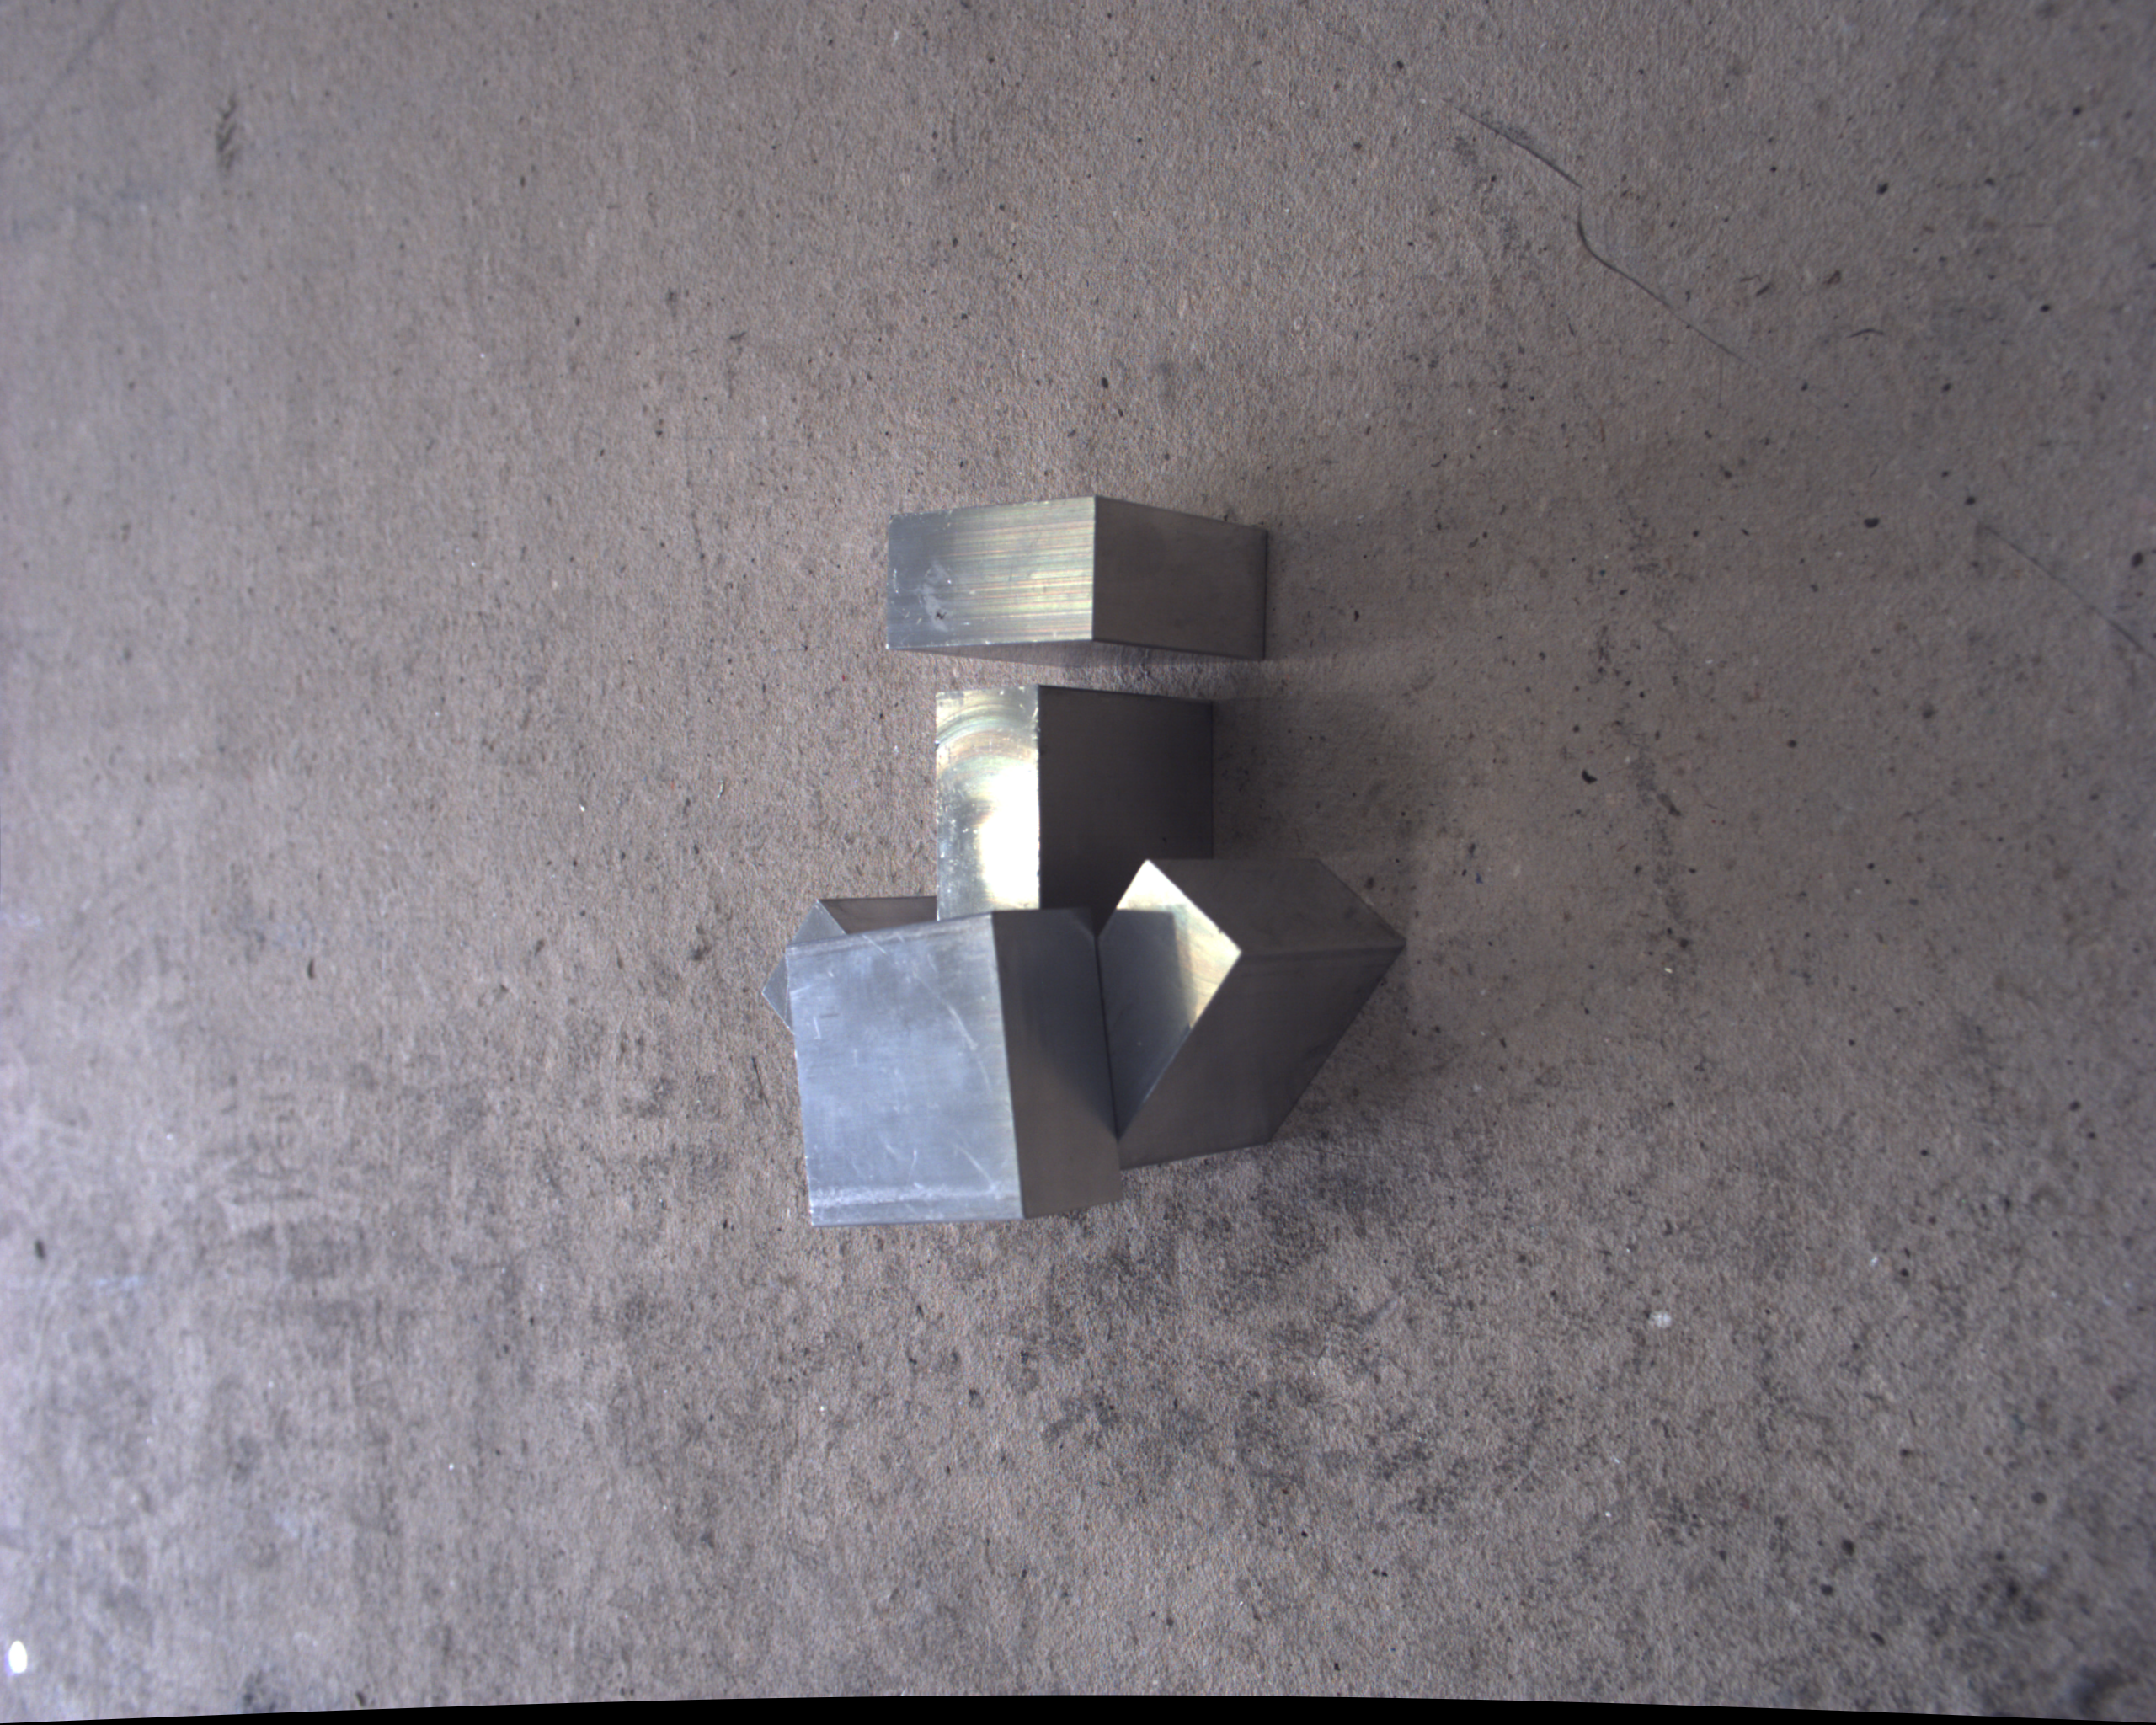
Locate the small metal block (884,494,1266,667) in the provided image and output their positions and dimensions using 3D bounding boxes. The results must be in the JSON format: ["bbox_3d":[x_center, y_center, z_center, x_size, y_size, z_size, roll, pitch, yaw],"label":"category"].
[{"bbox_3d":[0.000,-0.051,0.390,0.050,0.050,0.025,3,92,40],"label":"small metal block"}]

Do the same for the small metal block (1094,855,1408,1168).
[{"bbox_3d":[0.024,0.026,0.371,0.025,0.050,0.050,45,117,31],"label":"small metal block"}]

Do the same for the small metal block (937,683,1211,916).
[{"bbox_3d":[0.000,-0.006,0.391,0.025,0.050,0.050,-1,89,39],"label":"small metal block"}]

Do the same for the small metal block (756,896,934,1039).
[{"bbox_3d":[-0.026,0.032,0.411,0.050,0.050,0.025,47,118,28],"label":"small metal block"}]

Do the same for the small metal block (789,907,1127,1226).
[{"bbox_3d":[-0.021,0.036,0.360,0.050,0.025,0.050,-10,83,40],"label":"small metal block"}]
